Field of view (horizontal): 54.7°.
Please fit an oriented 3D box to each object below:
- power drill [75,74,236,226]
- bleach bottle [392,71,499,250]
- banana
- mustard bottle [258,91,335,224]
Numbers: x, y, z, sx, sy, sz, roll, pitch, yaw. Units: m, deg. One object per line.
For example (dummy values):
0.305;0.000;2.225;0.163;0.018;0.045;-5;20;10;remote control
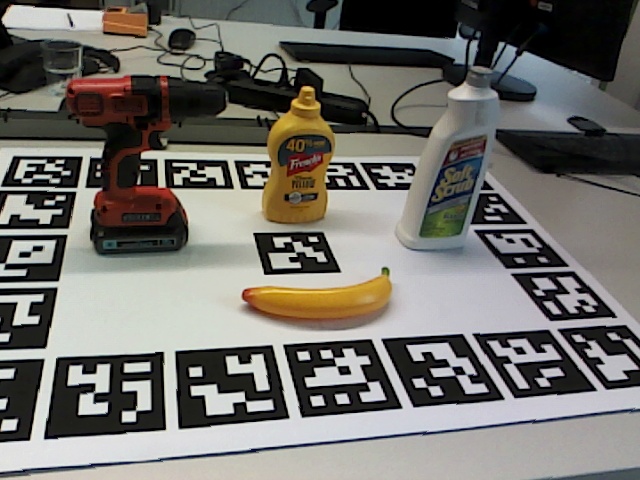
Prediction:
-0.196;-0.113;0.766;0.184;0.186;0.058;-7;36;-17;power drill
0.175;-0.106;0.846;0.102;0.250;0.068;5;33;-8;bleach bottle
0.006;0.059;0.731;0.196;0.039;0.074;-6;38;-17;banana
-0.028;-0.115;0.867;0.096;0.191;0.059;-4;35;-23;mustard bottle
